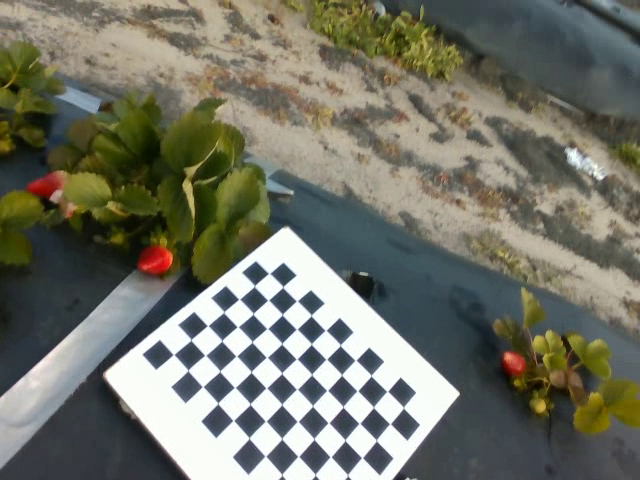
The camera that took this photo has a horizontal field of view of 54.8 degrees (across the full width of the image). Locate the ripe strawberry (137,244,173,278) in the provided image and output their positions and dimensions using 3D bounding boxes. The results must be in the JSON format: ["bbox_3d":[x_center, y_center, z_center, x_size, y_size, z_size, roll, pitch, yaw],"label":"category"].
[{"bbox_3d":[-0.182,0.023,0.668,0.055,0.050,0.036,-41,-9,-48],"label":"ripe strawberry"}]
